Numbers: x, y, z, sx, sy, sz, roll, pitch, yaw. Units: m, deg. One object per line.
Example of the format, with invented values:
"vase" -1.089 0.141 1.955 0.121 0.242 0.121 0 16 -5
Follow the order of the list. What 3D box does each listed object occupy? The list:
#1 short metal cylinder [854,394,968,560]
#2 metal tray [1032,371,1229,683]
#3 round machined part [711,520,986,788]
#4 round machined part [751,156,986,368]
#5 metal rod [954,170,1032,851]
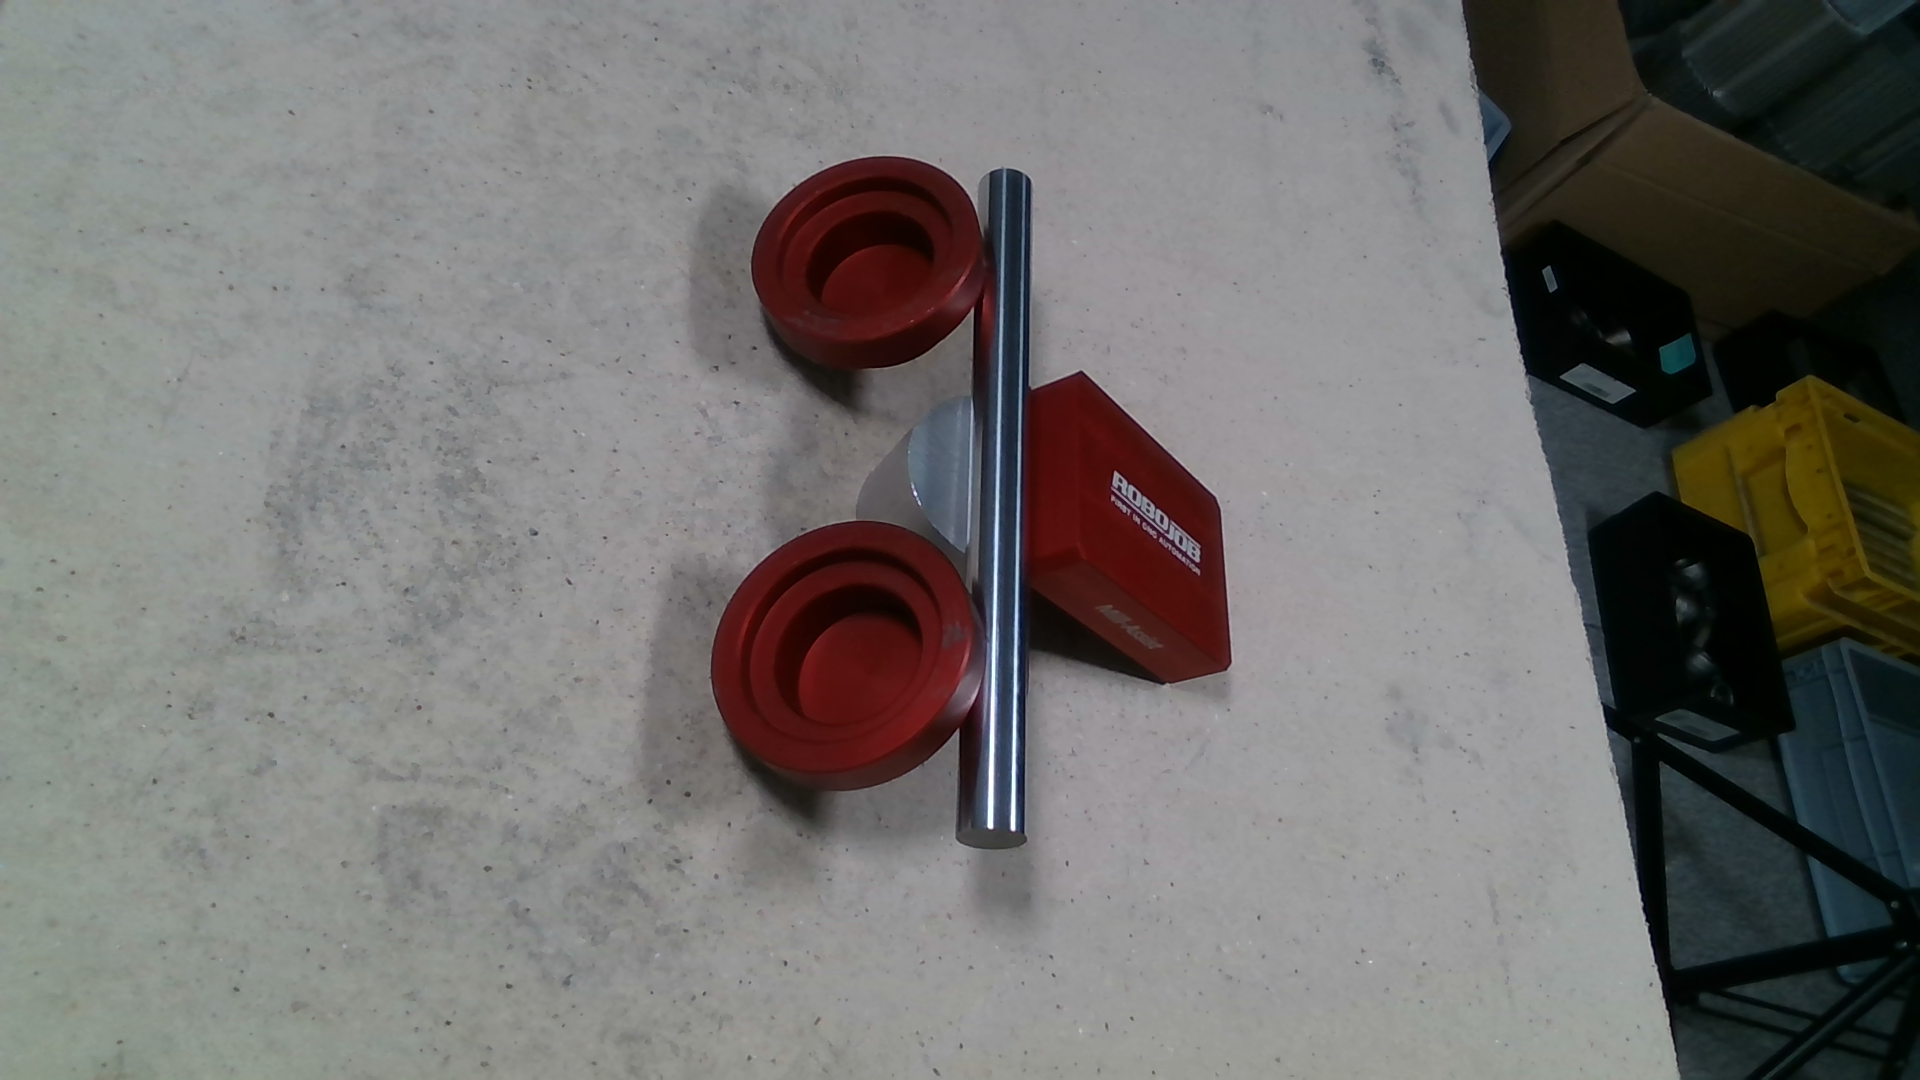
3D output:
"short metal cylinder" 0.002 -0.014 0.580 0.080 0.050 0.080 14 59 -25
"metal tray" 0.073 -0.003 0.595 0.130 0.030 0.090 35 47 -45
"round machined part" -0.038 0.045 0.505 0.098 0.042 0.098 -7 60 12
"round machined part" -0.037 -0.114 0.593 0.098 0.042 0.098 -5 62 9
"metal rod" 0.015 -0.027 0.546 0.025 0.025 0.299 16 58 -24
